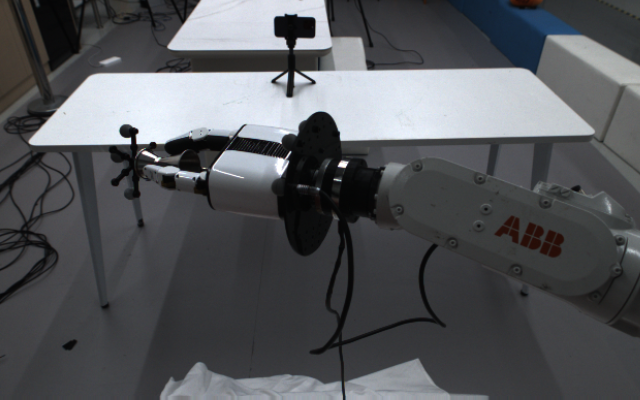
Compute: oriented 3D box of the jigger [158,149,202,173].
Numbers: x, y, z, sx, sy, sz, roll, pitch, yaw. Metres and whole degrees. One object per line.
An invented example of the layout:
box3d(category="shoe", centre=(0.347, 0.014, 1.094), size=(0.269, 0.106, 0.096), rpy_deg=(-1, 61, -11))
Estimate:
box3d(category="jigger", centre=(-0.183, -0.045, 0.601), size=(0.071, 0.043, 0.043), rpy_deg=(5, 34, 21))
